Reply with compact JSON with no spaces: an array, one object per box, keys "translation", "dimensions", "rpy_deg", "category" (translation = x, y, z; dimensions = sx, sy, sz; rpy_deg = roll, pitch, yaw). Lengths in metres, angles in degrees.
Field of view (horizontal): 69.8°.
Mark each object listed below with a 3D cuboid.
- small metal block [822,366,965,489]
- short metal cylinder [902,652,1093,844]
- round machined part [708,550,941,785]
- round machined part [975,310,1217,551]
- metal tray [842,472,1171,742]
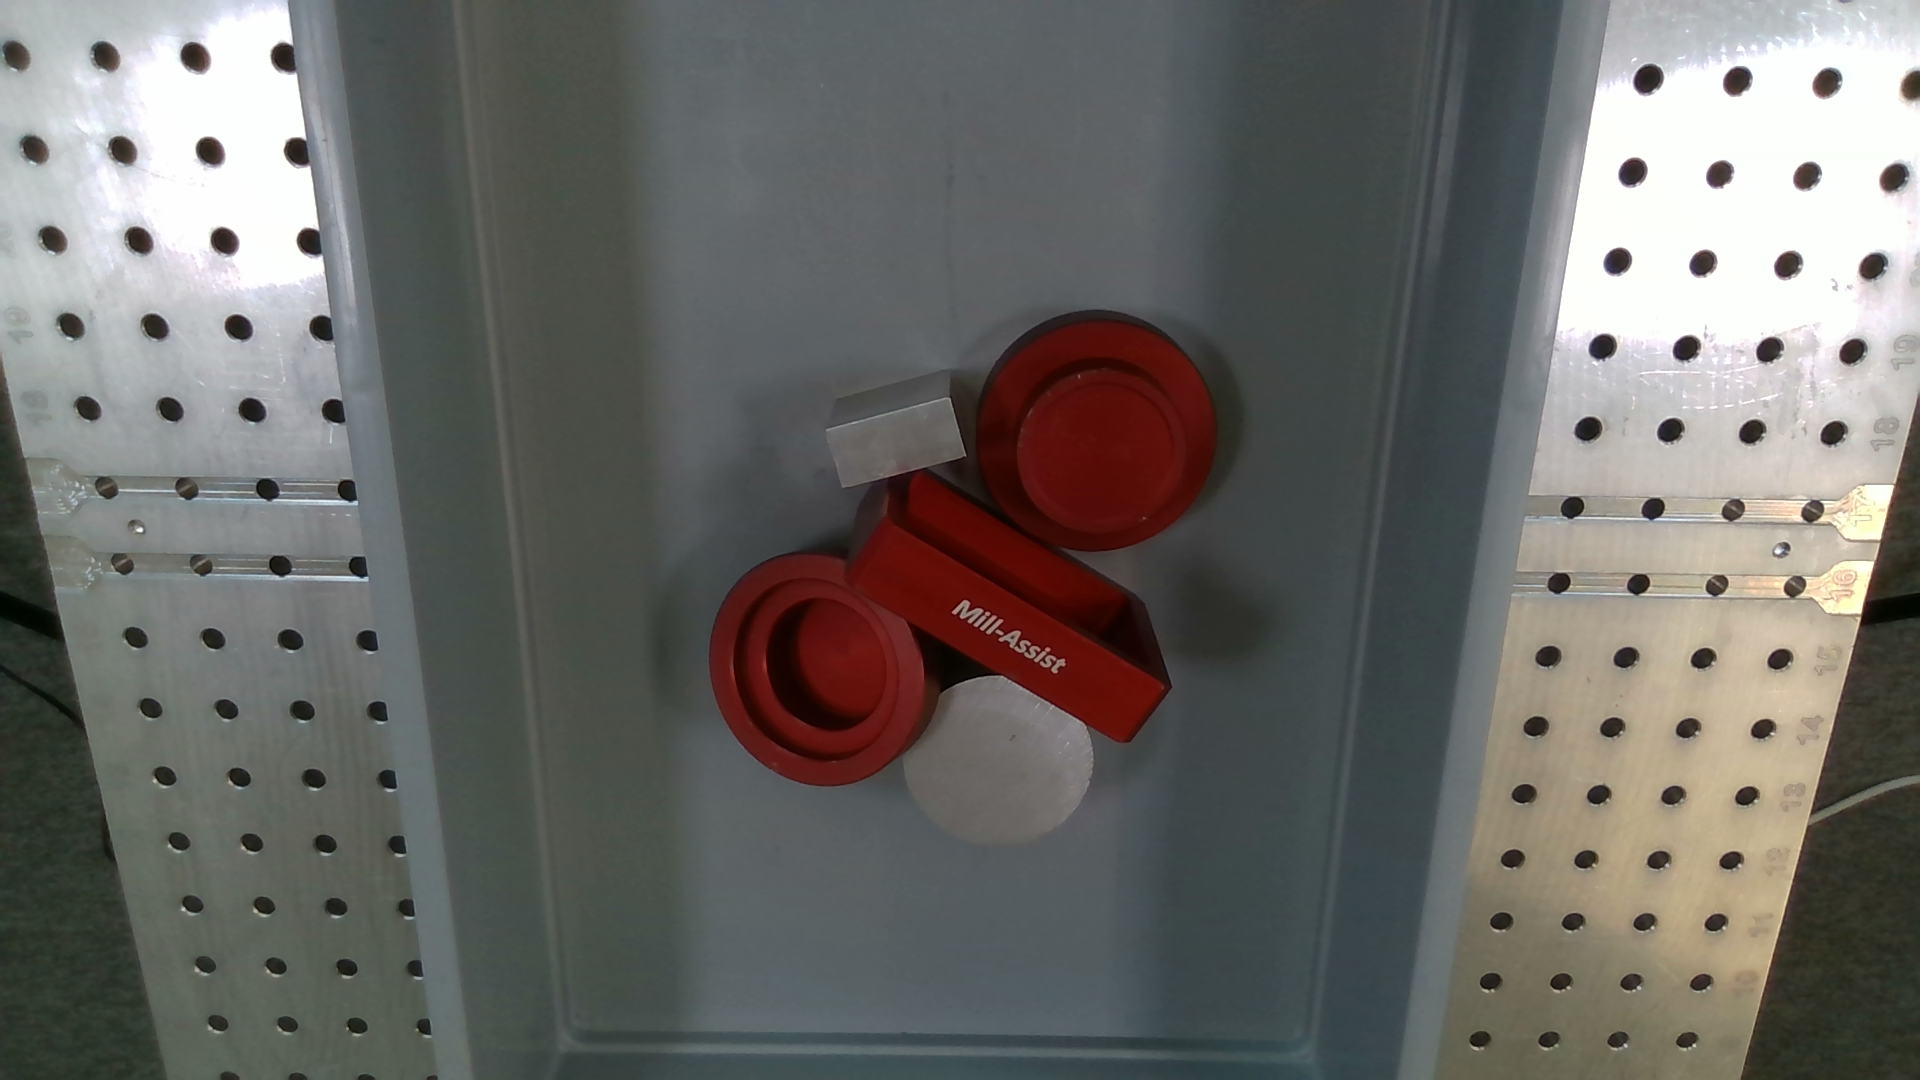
[{"translation":[-0.025,-0.046,0.553],"dimensions":[0.050,0.050,0.025],"rpy_deg":[-14,109,5],"category":"small metal block"},{"translation":[0.016,0.085,0.602],"dimensions":[0.080,0.050,0.080],"rpy_deg":[0,110,0],"category":"short metal cylinder"},{"translation":[-0.053,0.050,0.581],"dimensions":[0.098,0.042,0.098],"rpy_deg":[3,100,21],"category":"round machined part"},{"translation":[0.055,-0.041,0.558],"dimensions":[0.098,0.042,0.098],"rpy_deg":[0,110,0],"category":"round machined part"},{"translation":[0.019,0.021,0.557],"dimensions":[0.130,0.090,0.030],"rpy_deg":[31,107,-11],"category":"metal tray"}]
